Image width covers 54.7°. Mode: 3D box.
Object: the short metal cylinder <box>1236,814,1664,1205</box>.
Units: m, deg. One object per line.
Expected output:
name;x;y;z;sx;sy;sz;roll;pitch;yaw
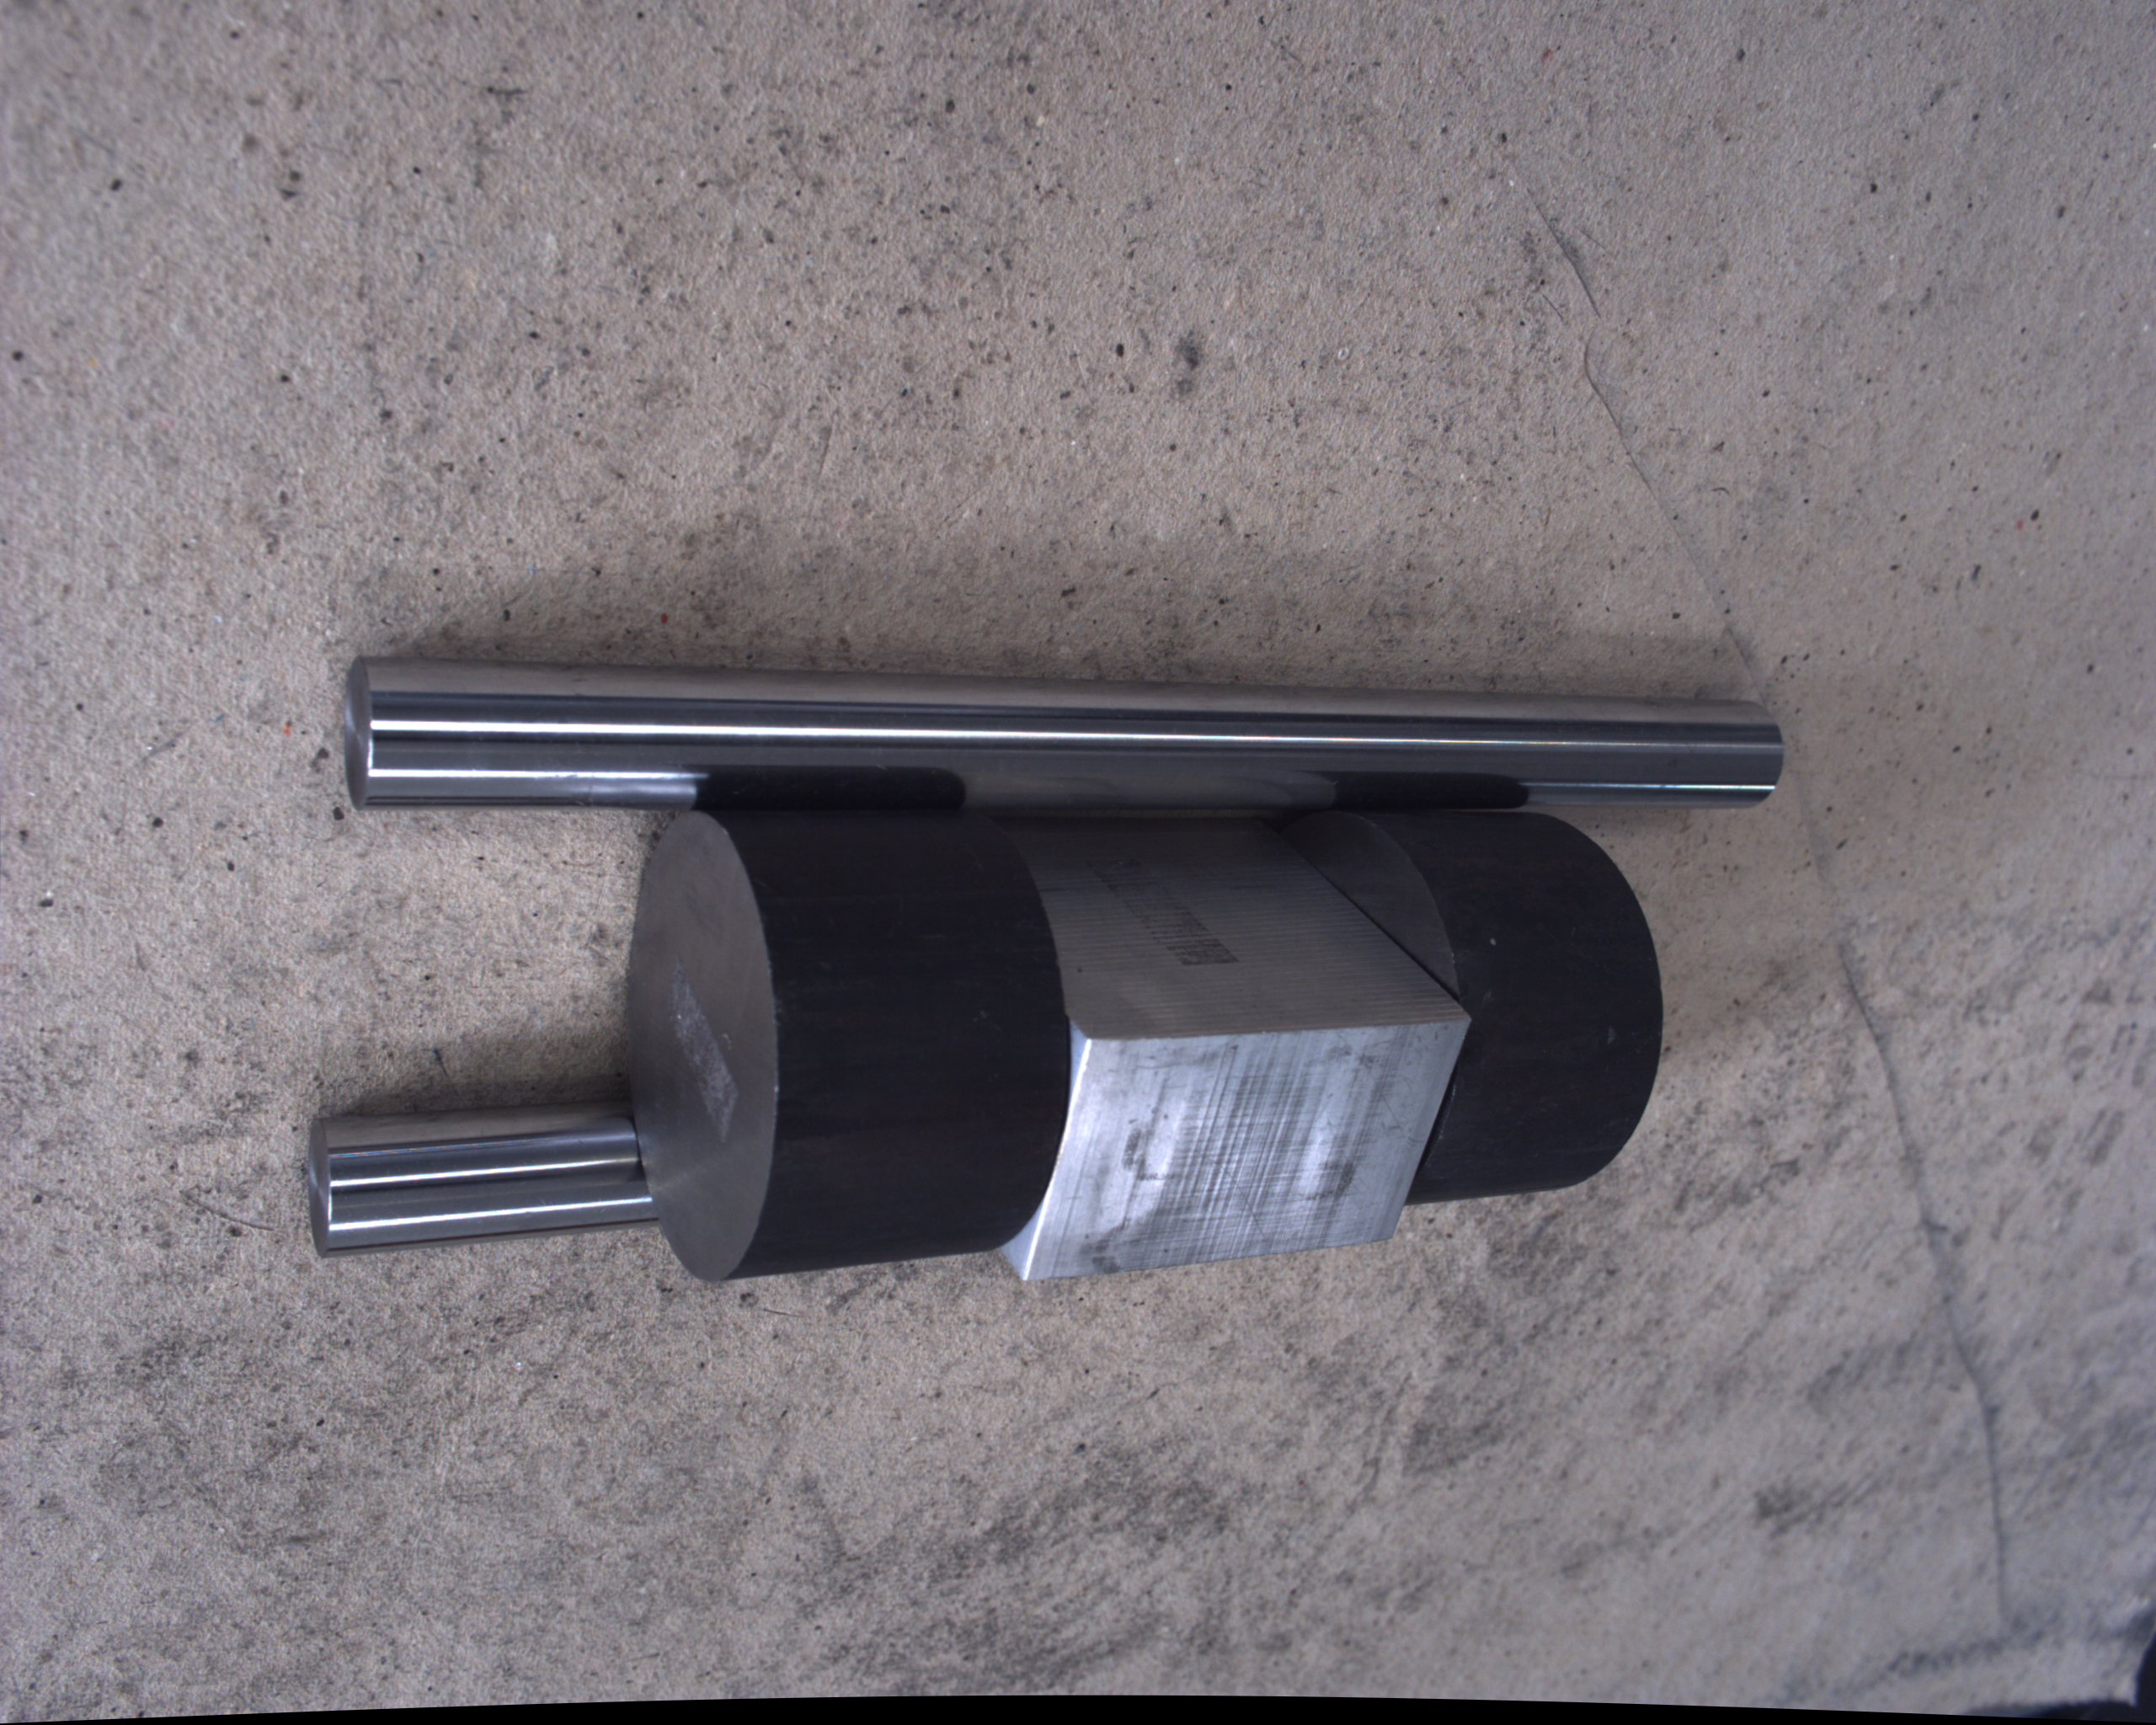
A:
short metal cylinder;0.073;0.030;0.430;0.050;0.080;0.079;-1;119;-28

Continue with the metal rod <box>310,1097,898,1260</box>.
metal rod;-0.002;0.056;0.442;0.303;0.025;0.025;-1;119;-28

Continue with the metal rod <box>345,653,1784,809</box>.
metal rod;0.018;-0.023;0.404;0.303;0.025;0.025;-1;119;-28

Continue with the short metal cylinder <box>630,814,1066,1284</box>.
short metal cylinder;-0.043;0.031;0.368;0.050;0.080;0.079;-1;119;-28

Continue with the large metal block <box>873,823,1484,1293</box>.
large metal block;0.015;0.033;0.398;0.081;0.080;0.050;0;119;-29
